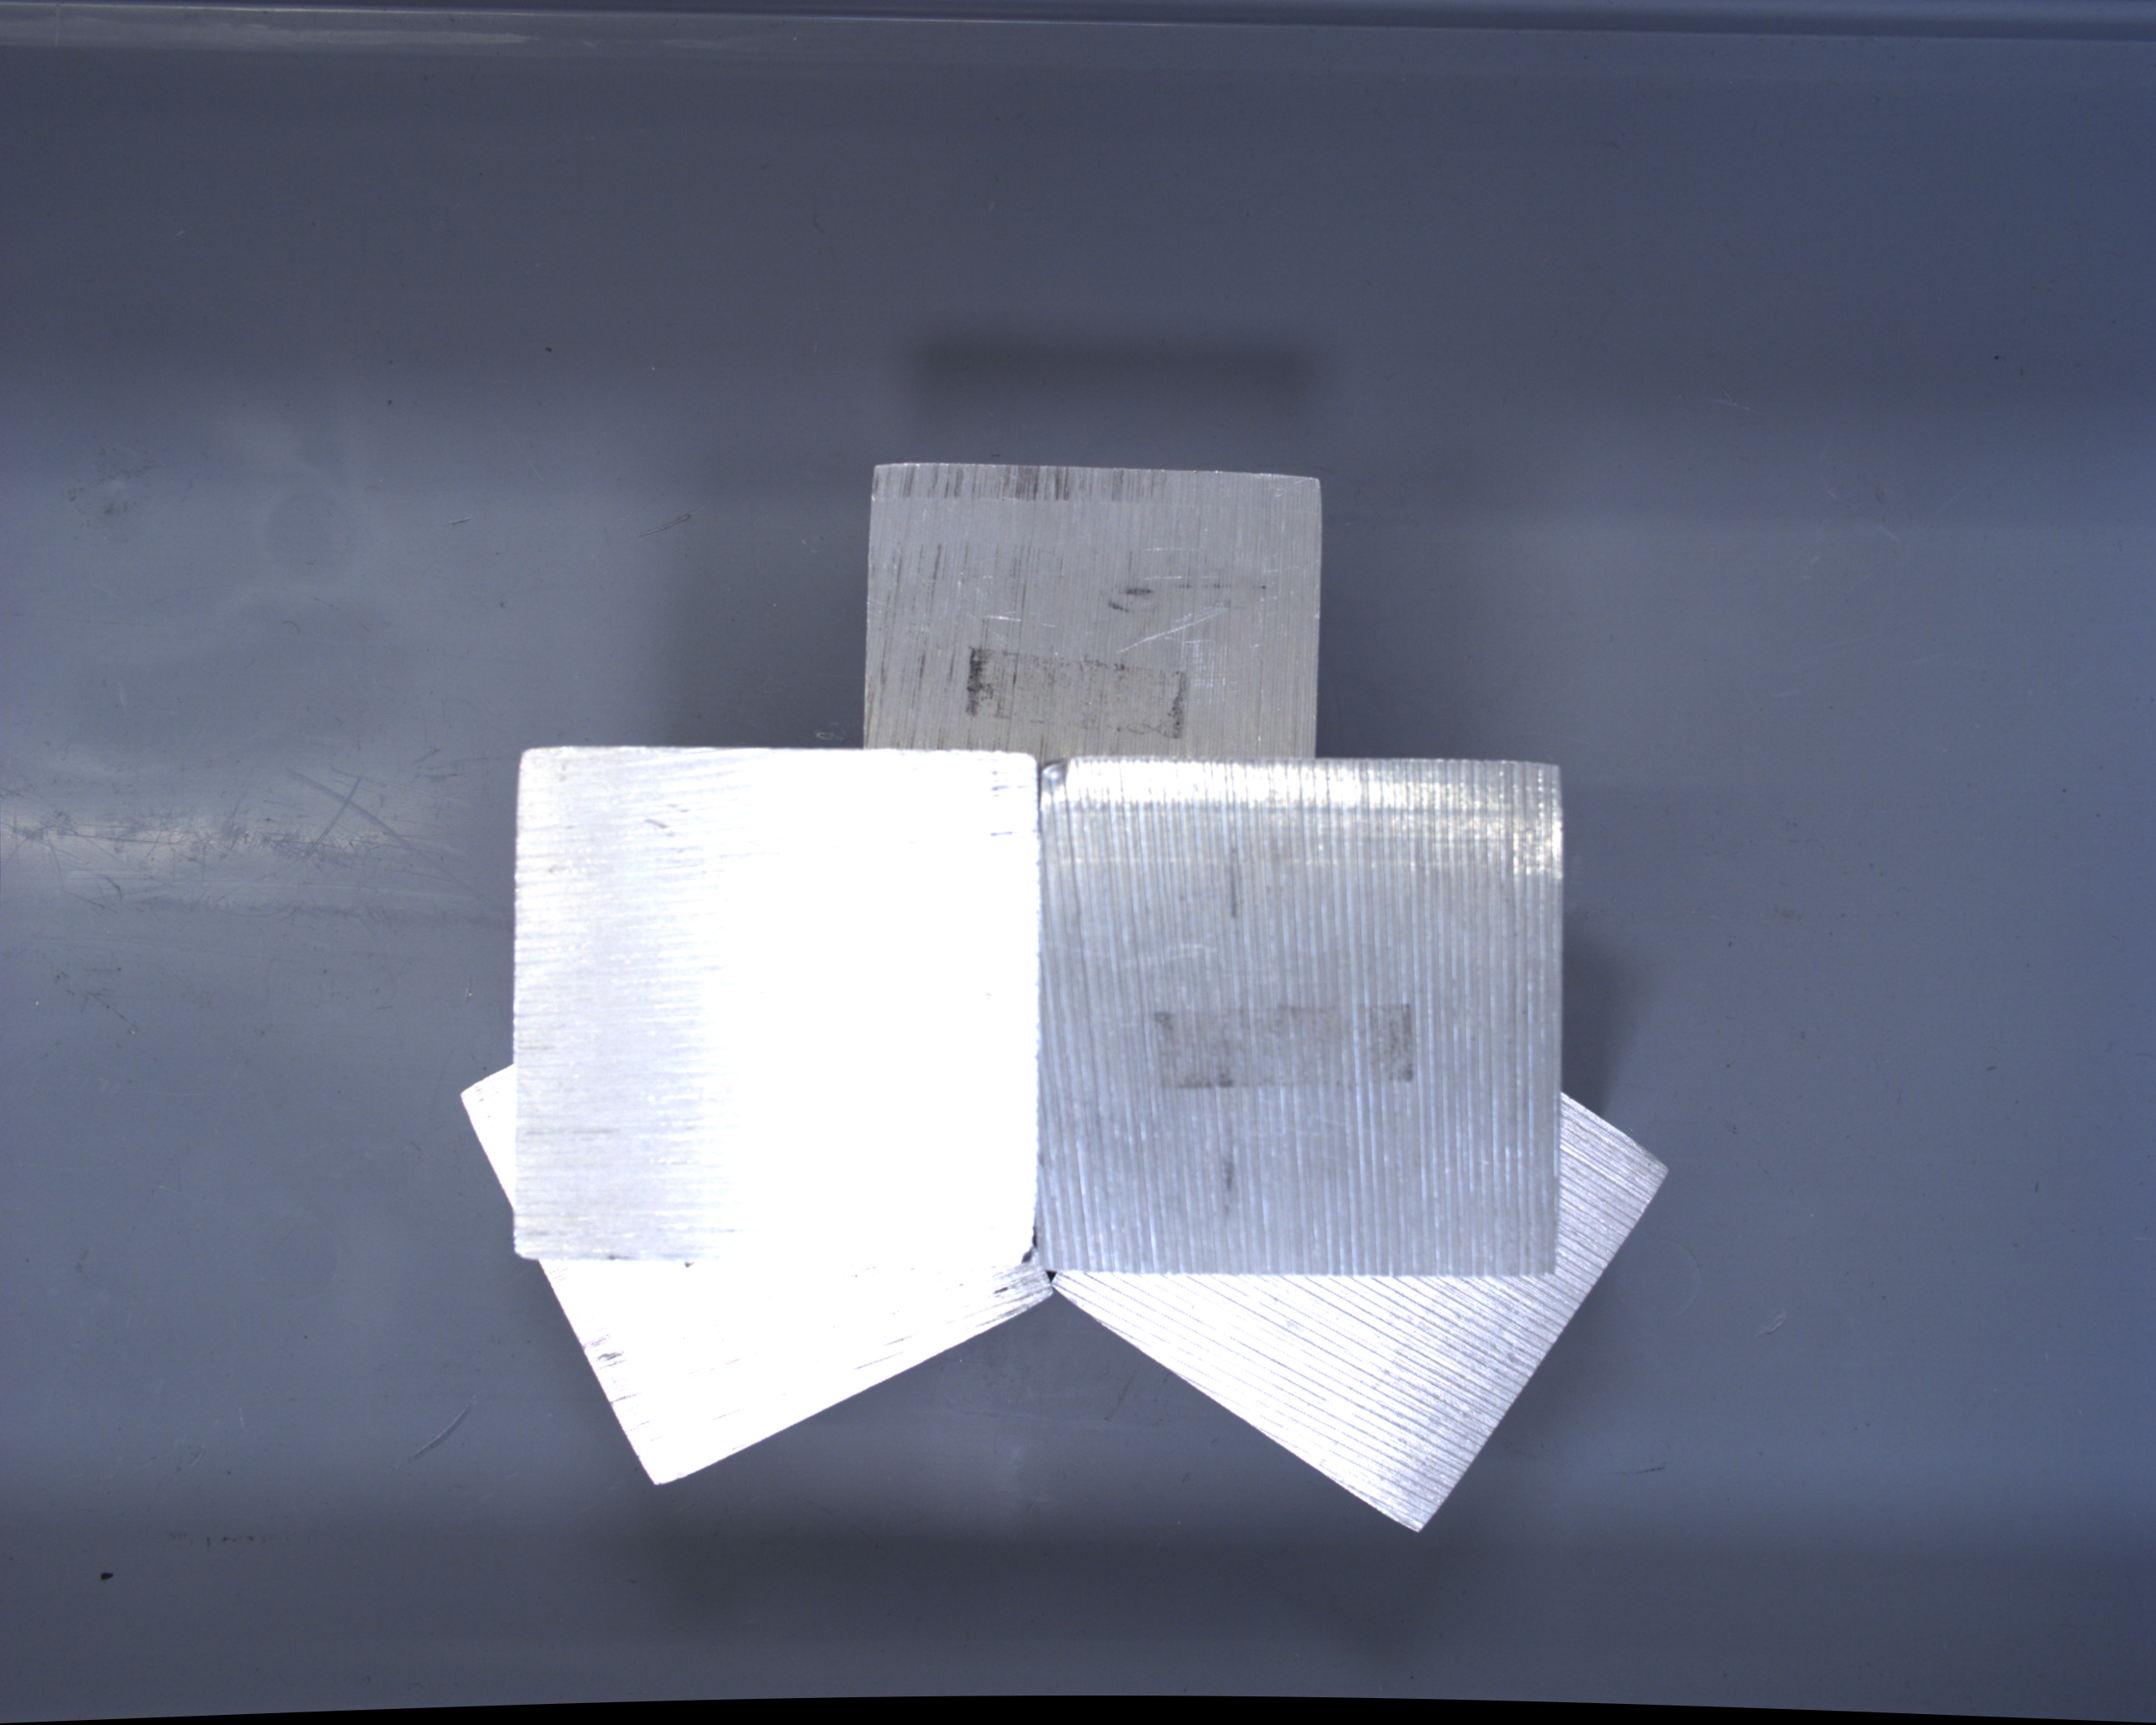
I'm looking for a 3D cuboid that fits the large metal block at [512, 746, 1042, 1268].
[{"bbox_3d":[-0.046,0.022,0.347,0.081,0.050,0.080,1,90,0],"label":"large metal block"}]

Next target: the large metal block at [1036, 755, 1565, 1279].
[{"bbox_3d":[0.034,0.024,0.346,0.081,0.050,0.080,1,90,0],"label":"large metal block"}]

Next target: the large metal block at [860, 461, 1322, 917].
[{"bbox_3d":[0.002,-0.031,0.397,0.081,0.050,0.080,2,90,0],"label":"large metal block"}]

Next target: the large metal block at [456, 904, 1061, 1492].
[{"bbox_3d":[-0.057,0.059,0.397,0.080,0.050,0.080,-26,90,0],"label":"large metal block"}]

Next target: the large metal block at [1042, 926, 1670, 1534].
[{"bbox_3d":[0.050,0.064,0.396,0.080,0.050,0.080,34,90,0],"label":"large metal block"}]
